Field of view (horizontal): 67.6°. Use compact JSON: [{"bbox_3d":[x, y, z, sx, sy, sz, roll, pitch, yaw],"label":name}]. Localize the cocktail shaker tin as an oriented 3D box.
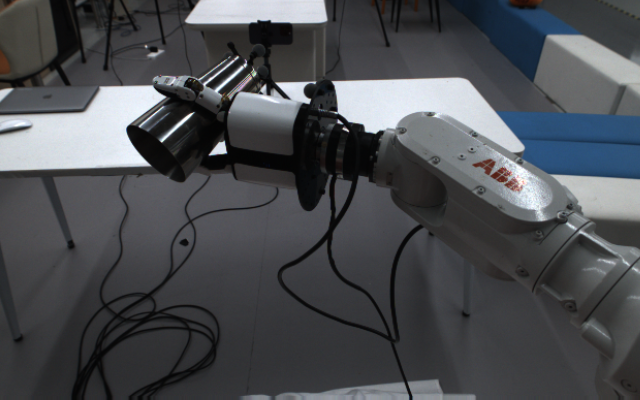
[{"bbox_3d":[-0.154,-0.119,0.626,0.093,0.093,0.170,23,57,27],"label":"cocktail shaker tin"}]
